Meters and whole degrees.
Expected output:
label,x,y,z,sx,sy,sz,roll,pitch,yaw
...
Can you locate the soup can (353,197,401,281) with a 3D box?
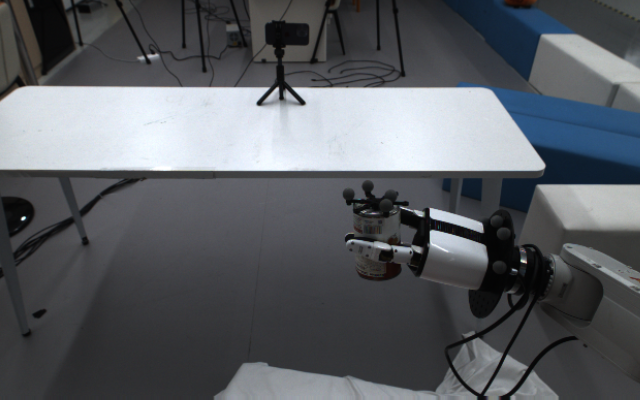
label,x,y,z,sx,sy,sz,roll,pitch,yaw
soup can,0.084,0.055,0.693,0.067,0.101,0.067,-4,21,1
